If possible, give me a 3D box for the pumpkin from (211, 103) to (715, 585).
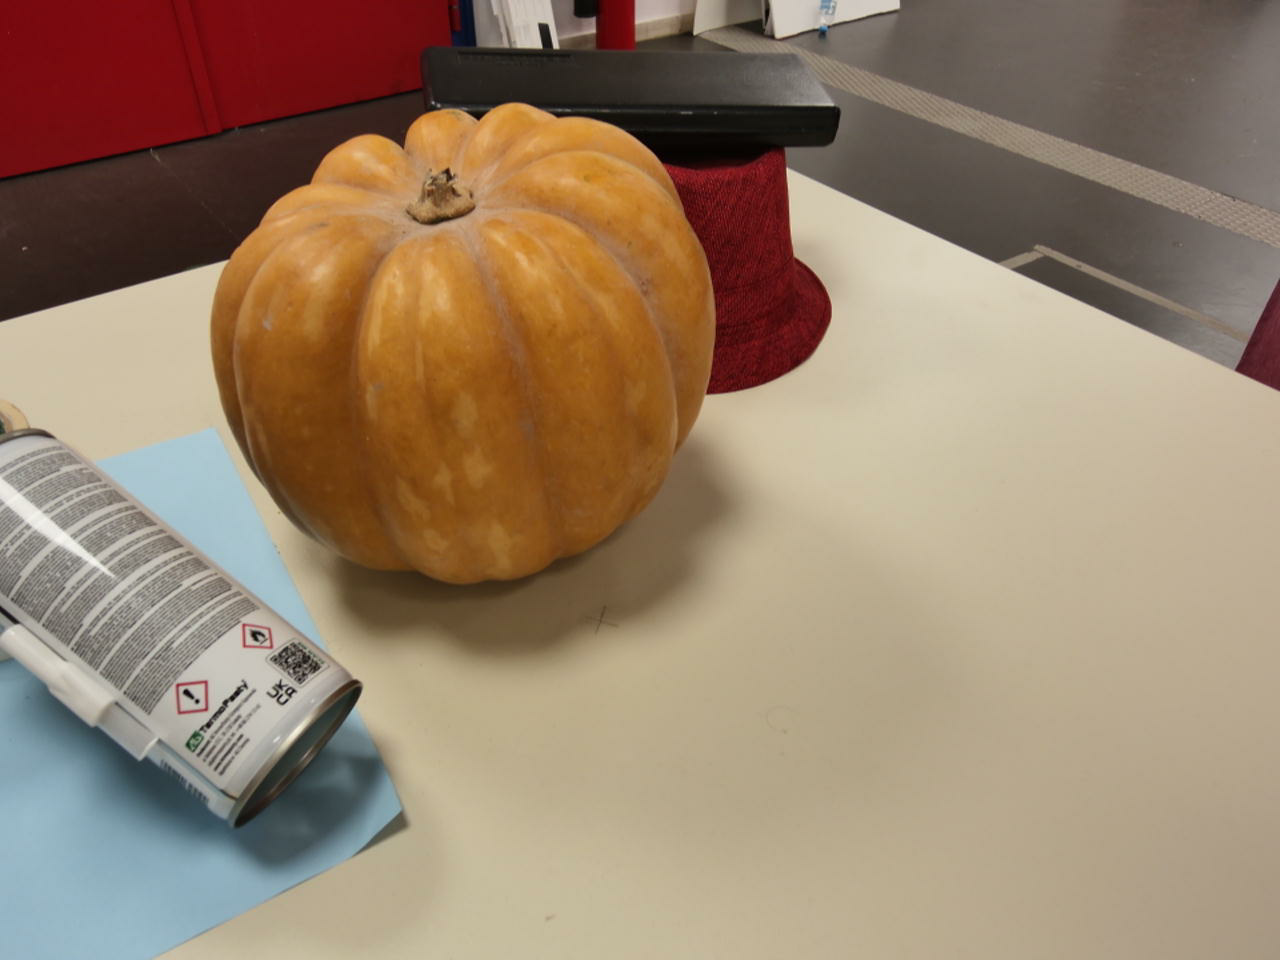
[{"bbox_3d":[-0.076,-0.061,0.467,0.230,0.194,0.230,0,38,0],"label":"pumpkin"}]
